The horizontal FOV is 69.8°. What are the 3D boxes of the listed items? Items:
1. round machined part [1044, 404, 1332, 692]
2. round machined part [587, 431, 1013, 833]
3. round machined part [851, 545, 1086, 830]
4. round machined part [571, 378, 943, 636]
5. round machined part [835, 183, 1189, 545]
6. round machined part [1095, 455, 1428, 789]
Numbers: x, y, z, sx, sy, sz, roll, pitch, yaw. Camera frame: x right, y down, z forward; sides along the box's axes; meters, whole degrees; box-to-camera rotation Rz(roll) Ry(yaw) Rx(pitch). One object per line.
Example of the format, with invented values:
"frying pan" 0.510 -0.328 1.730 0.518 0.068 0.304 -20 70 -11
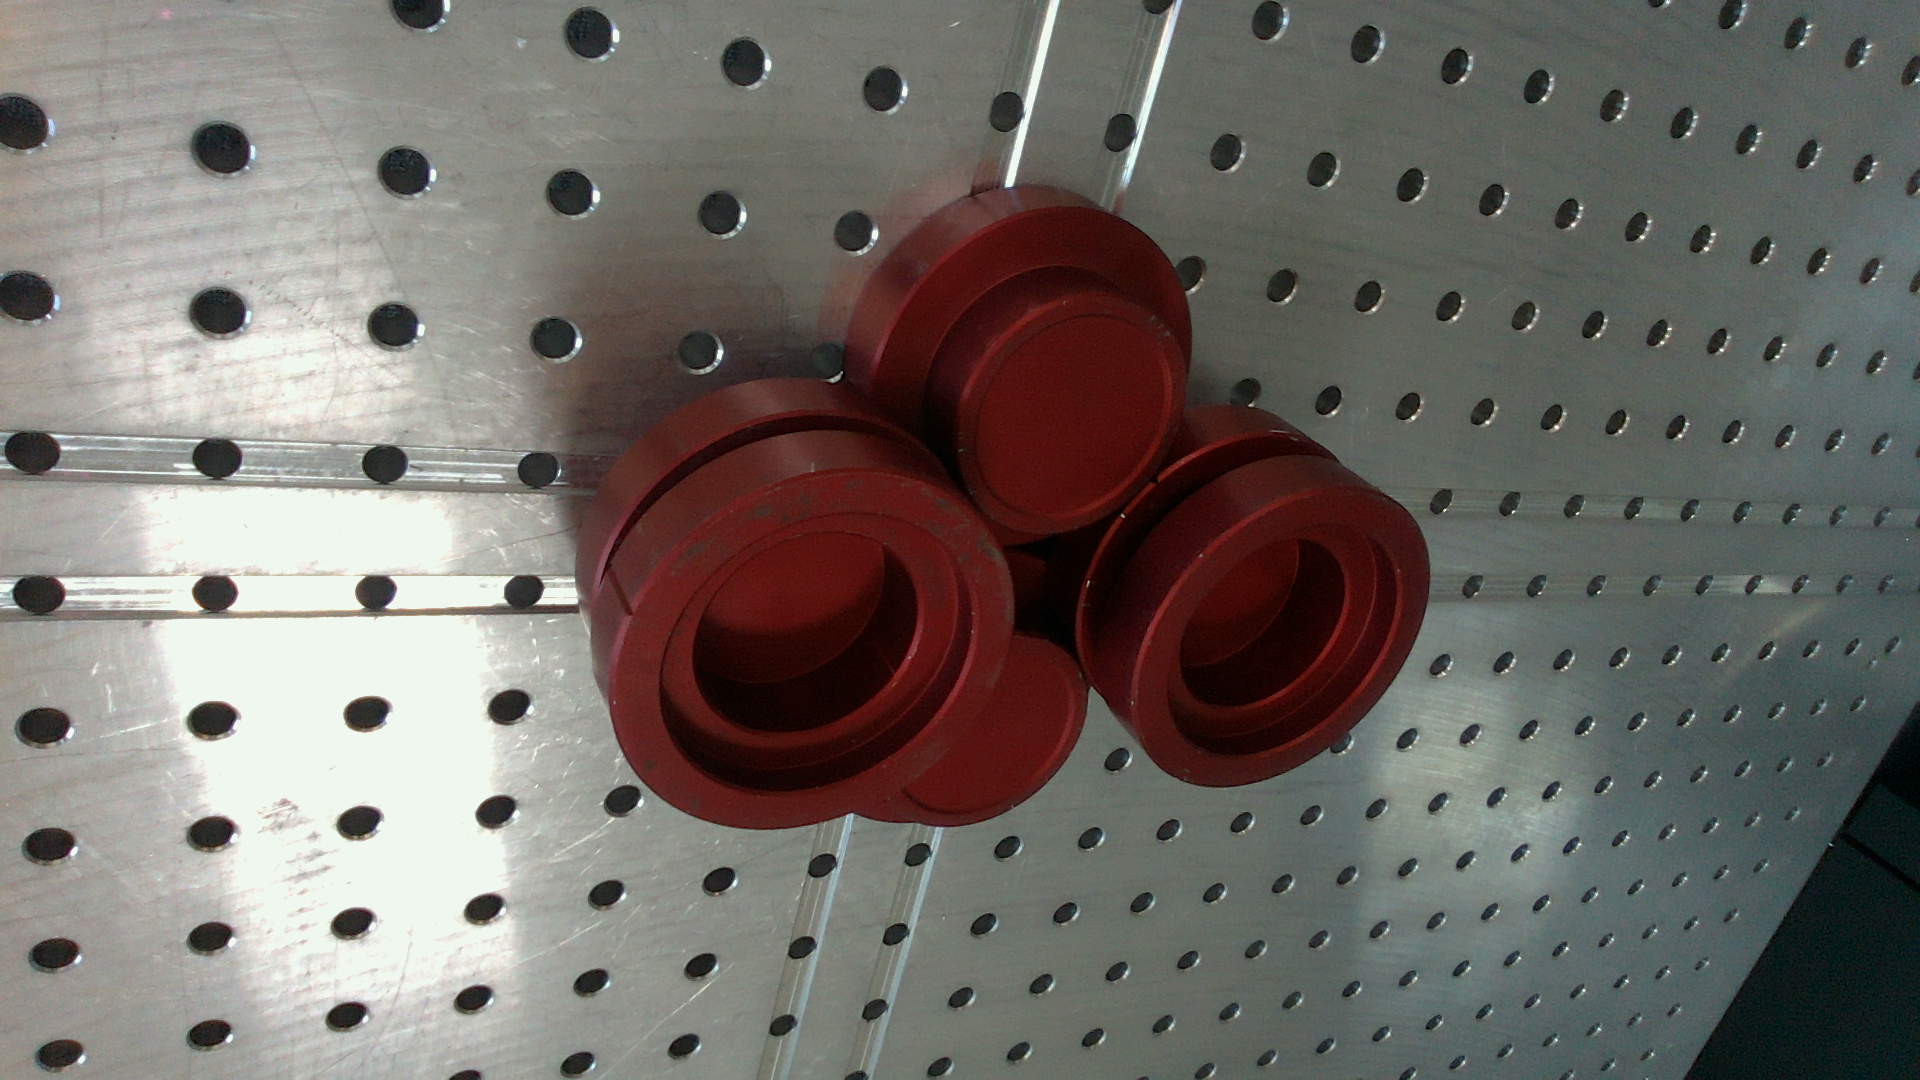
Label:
"round machined part" 0.069 0.003 0.419 0.098 0.042 0.098 -14 124 -21
"round machined part" -0.040 0.018 0.328 0.098 0.042 0.098 -14 124 -21
"round machined part" -0.002 0.046 0.407 0.098 0.042 0.098 -14 124 -21
"round machined part" -0.051 0.003 0.355 0.098 0.042 0.098 -14 124 -21
"round machined part" 0.020 -0.041 0.366 0.098 0.042 0.098 -14 124 -21
"round machined part" 0.081 0.020 0.395 0.098 0.042 0.098 -14 124 -21
